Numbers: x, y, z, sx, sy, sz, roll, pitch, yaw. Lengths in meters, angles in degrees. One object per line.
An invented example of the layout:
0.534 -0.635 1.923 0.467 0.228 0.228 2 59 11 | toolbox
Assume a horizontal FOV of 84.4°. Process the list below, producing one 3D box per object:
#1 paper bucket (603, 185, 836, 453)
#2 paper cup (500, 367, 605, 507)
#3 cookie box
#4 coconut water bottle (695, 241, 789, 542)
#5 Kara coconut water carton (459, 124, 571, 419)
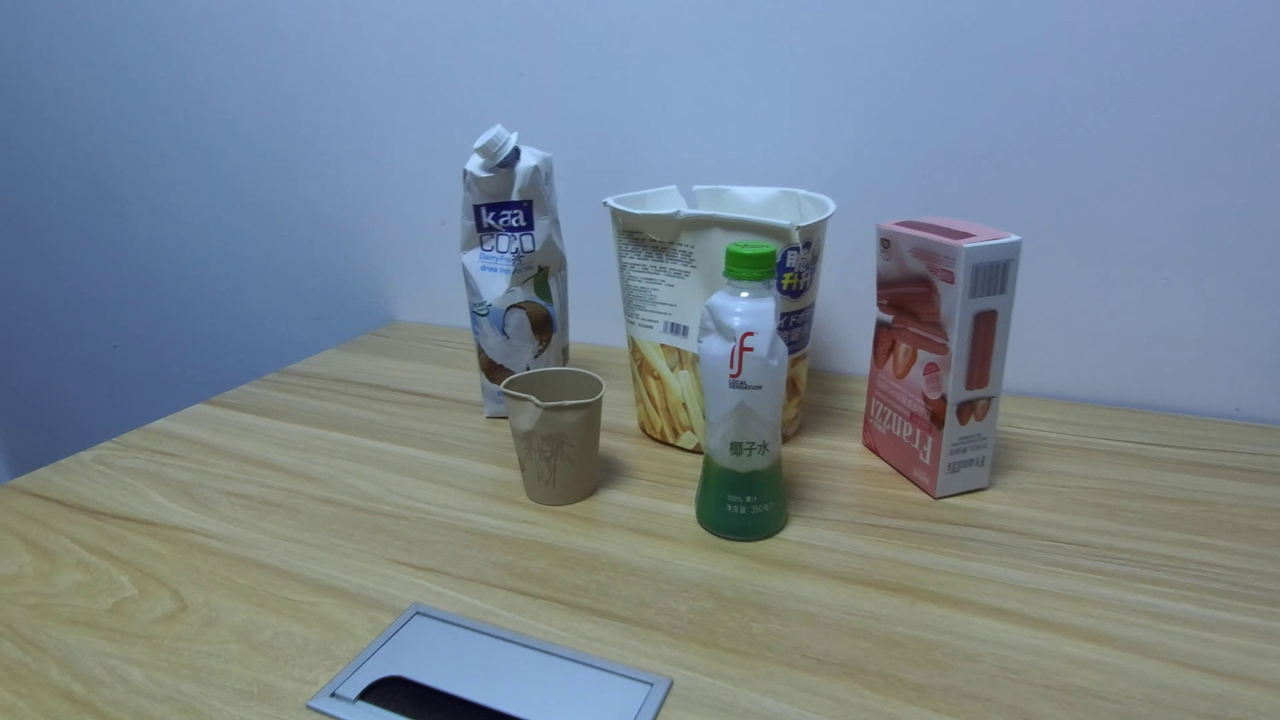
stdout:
0.066 -0.042 0.603 0.202 0.197 0.146 12 24 31 | paper bucket
-0.061 0.056 0.517 0.073 0.081 0.068 -7 20 -13 | paper cup
0.212 -0.006 0.518 0.049 0.187 0.105 -8 21 -14 | cookie box
0.067 0.021 0.451 0.069 0.186 0.069 -1 21 1 | coconut water bottle
-0.111 -0.075 0.625 0.083 0.255 0.078 6 24 18 | Kara coconut water carton
